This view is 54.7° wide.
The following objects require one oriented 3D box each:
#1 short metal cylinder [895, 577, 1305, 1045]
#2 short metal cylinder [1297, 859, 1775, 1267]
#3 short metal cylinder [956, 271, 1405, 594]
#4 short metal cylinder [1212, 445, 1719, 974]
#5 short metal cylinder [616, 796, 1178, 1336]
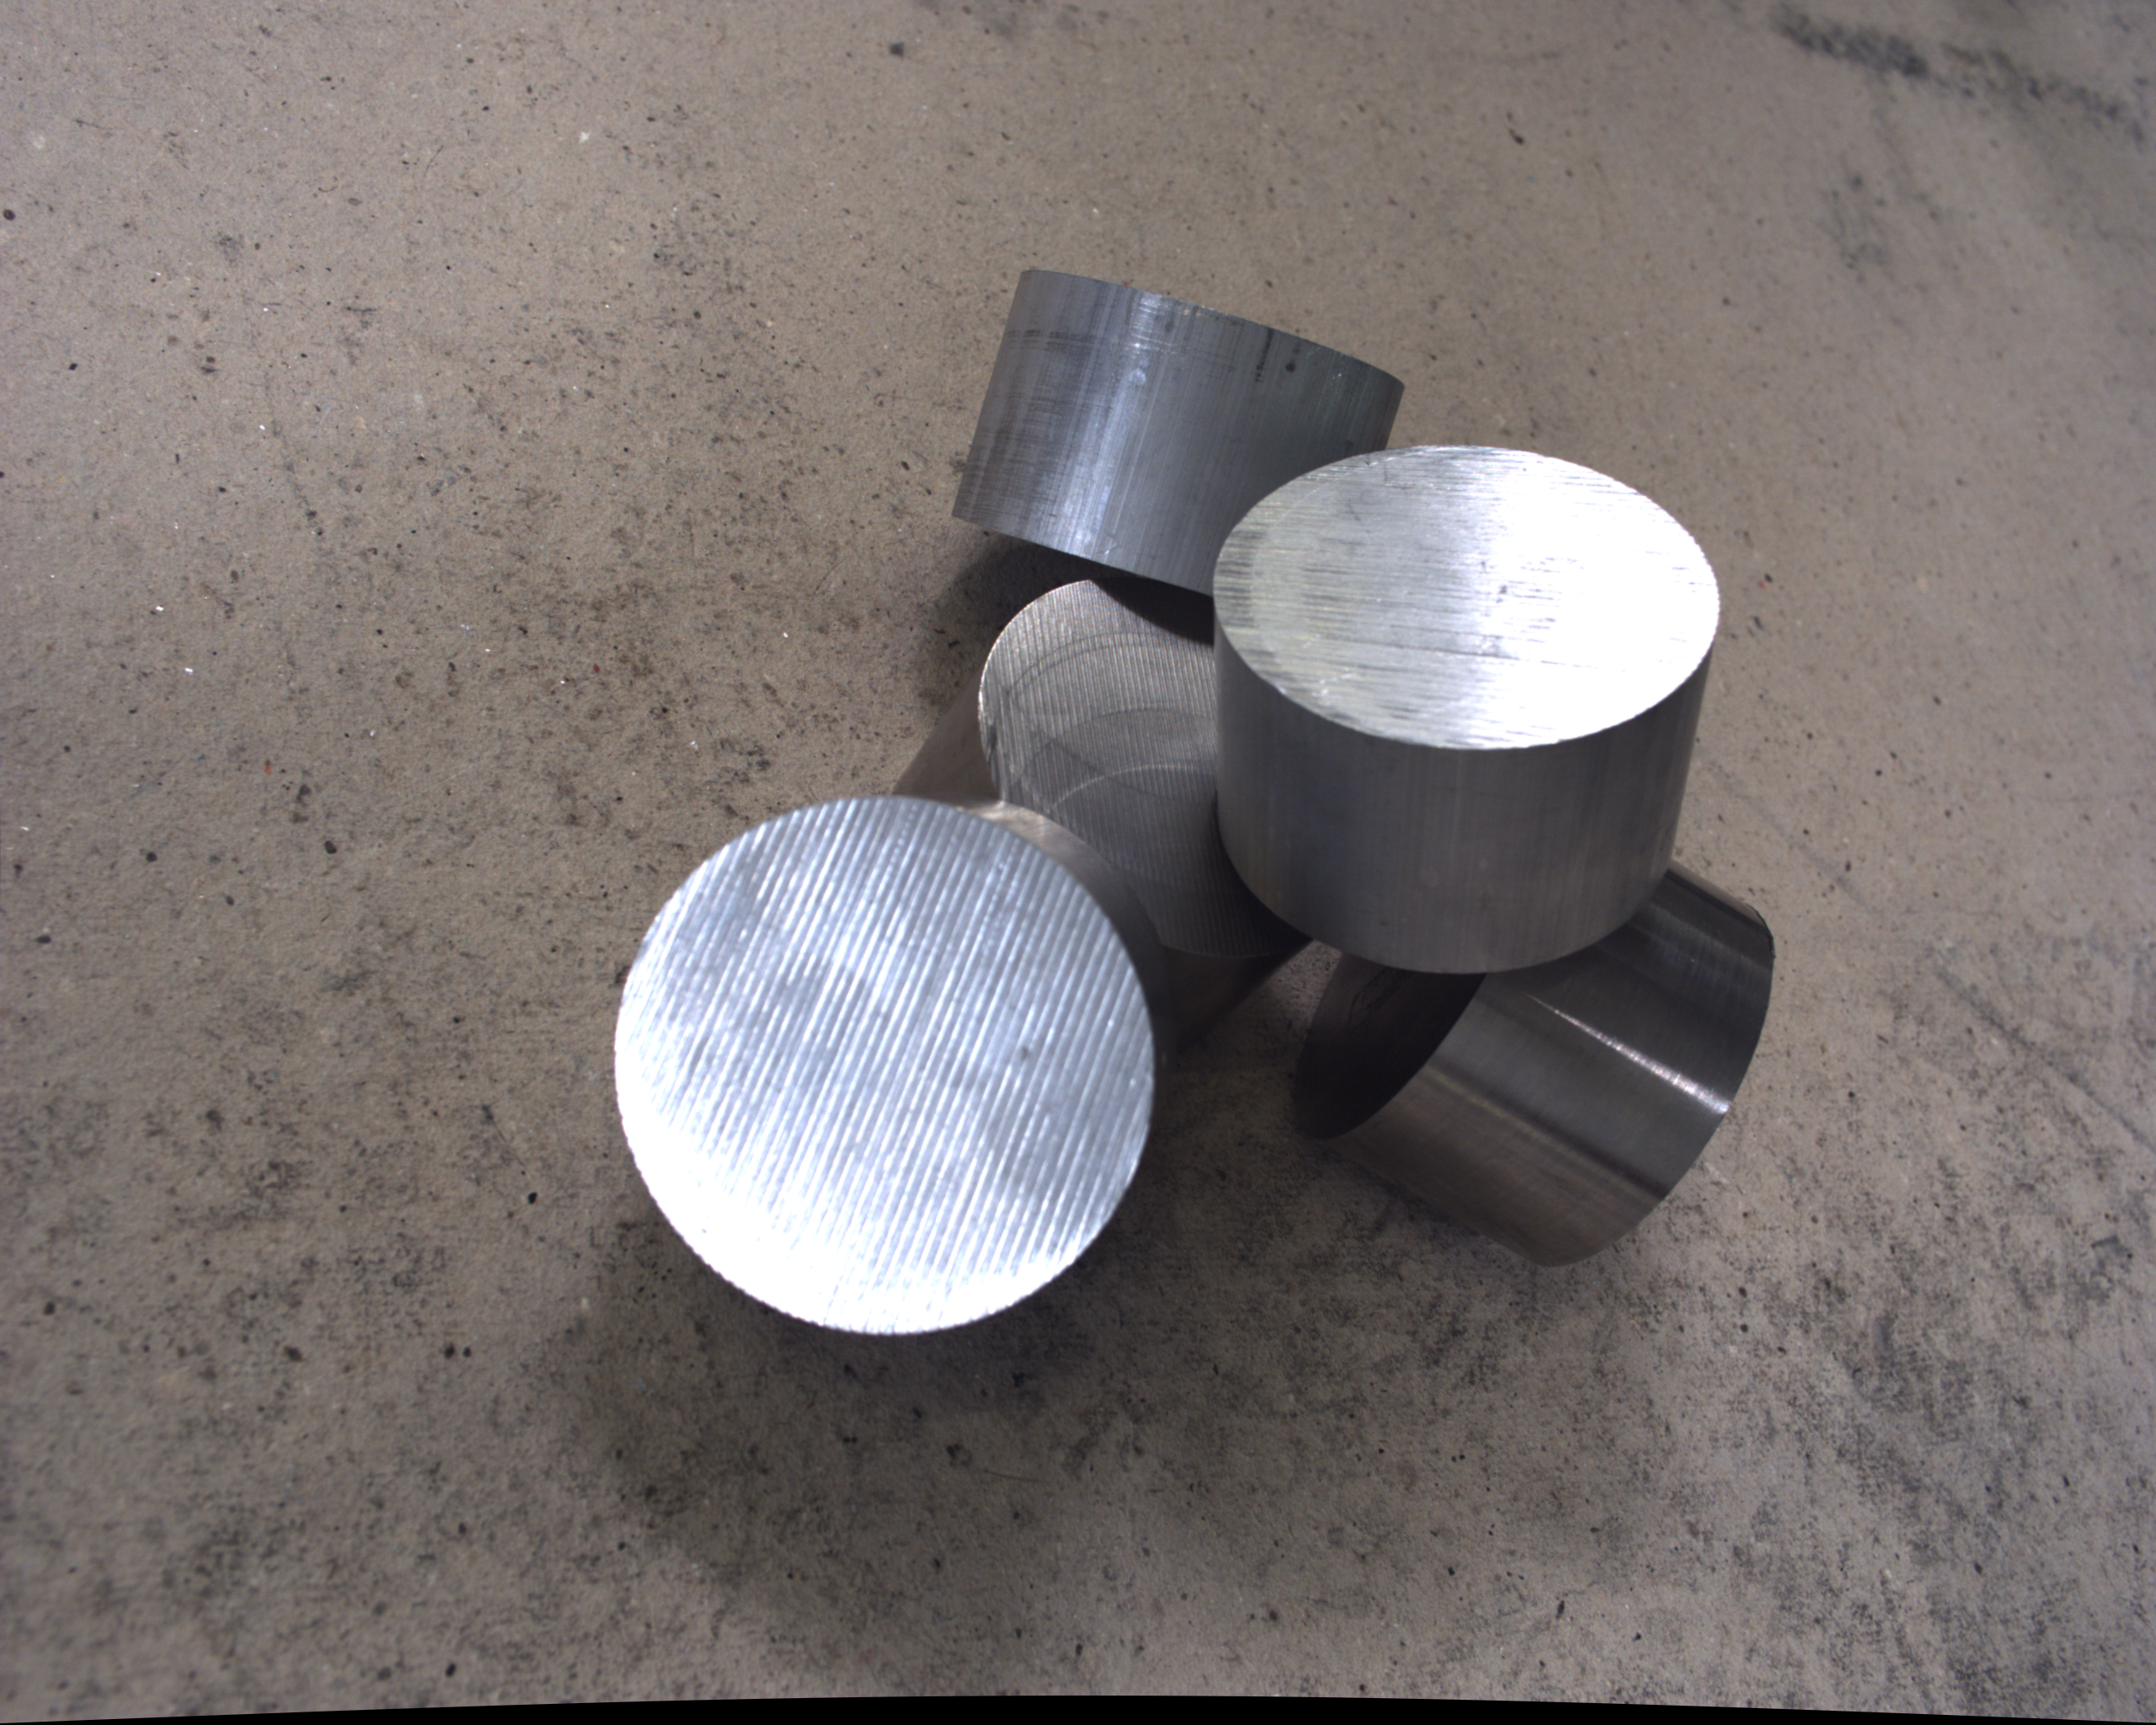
[{"bbox_3d":[0.009,-0.007,0.398,0.081,0.050,0.080,14,55,-21],"label":"short metal cylinder"},{"bbox_3d":[0.085,0.029,0.397,0.050,0.080,0.080,31,52,-9],"label":"short metal cylinder"},{"bbox_3d":[0.020,-0.083,0.423,0.081,0.080,0.050,13,100,-21],"label":"short metal cylinder"},{"bbox_3d":[0.063,-0.027,0.354,0.080,0.050,0.080,-2,45,2],"label":"short metal cylinder"},{"bbox_3d":[-0.026,0.029,0.331,0.080,0.050,0.079,0,92,6],"label":"short metal cylinder"}]
